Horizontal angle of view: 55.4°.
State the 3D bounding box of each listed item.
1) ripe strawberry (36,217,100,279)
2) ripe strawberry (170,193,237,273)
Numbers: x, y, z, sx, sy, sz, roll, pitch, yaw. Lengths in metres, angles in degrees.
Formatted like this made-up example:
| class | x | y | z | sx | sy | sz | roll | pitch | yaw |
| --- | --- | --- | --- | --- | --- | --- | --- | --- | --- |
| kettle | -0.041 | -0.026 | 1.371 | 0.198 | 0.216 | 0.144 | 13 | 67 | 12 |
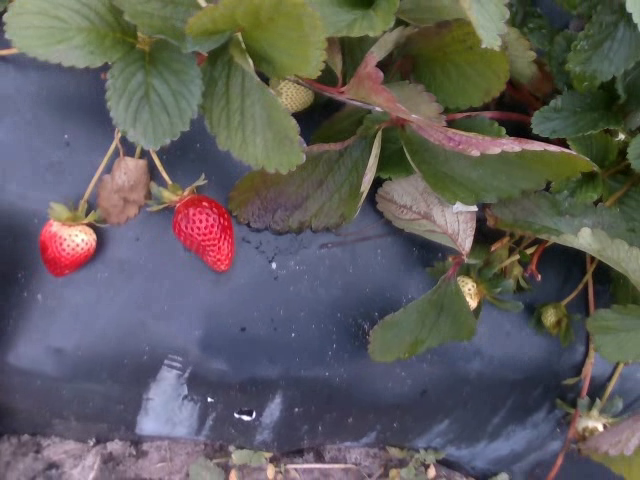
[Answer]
| class | x | y | z | sx | sy | sz | roll | pitch | yaw |
| --- | --- | --- | --- | --- | --- | --- | --- | --- | --- |
| ripe strawberry | -0.148 | 0.006 | 0.349 | 0.036 | 0.041 | 0.028 | 19 | 21 | -4 |
| ripe strawberry | -0.069 | -0.004 | 0.358 | 0.044 | 0.059 | 0.042 | -17 | 18 | 27 |
